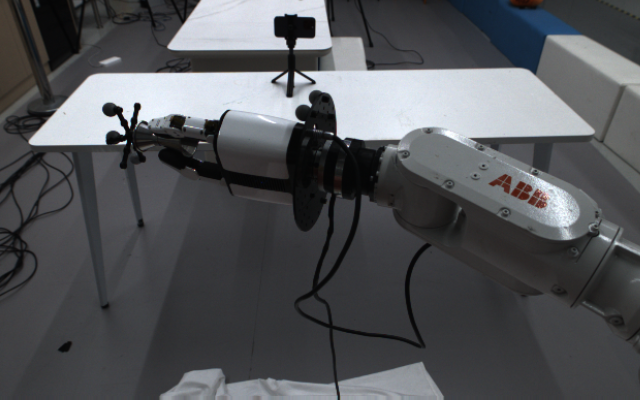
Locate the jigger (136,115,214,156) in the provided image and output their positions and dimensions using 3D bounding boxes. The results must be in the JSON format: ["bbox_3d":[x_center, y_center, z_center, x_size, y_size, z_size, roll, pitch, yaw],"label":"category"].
[{"bbox_3d":[-0.187,-0.082,0.613,0.071,0.043,0.043,5,34,13],"label":"jigger"}]
